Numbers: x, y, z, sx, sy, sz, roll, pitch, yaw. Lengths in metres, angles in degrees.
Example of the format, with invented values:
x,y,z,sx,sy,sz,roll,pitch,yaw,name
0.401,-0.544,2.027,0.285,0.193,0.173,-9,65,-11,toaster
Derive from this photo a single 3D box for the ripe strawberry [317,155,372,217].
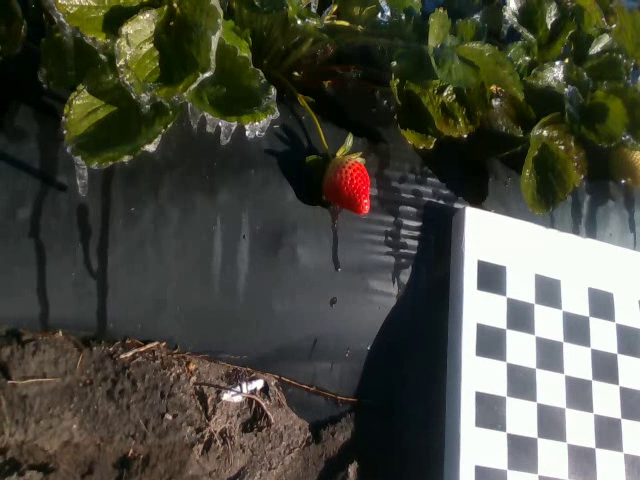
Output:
x,y,z,sx,sy,sz,roll,pitch,yaw,name
0.022,-0.037,0.423,0.039,0.053,0.041,-9,-32,-20,ripe strawberry
